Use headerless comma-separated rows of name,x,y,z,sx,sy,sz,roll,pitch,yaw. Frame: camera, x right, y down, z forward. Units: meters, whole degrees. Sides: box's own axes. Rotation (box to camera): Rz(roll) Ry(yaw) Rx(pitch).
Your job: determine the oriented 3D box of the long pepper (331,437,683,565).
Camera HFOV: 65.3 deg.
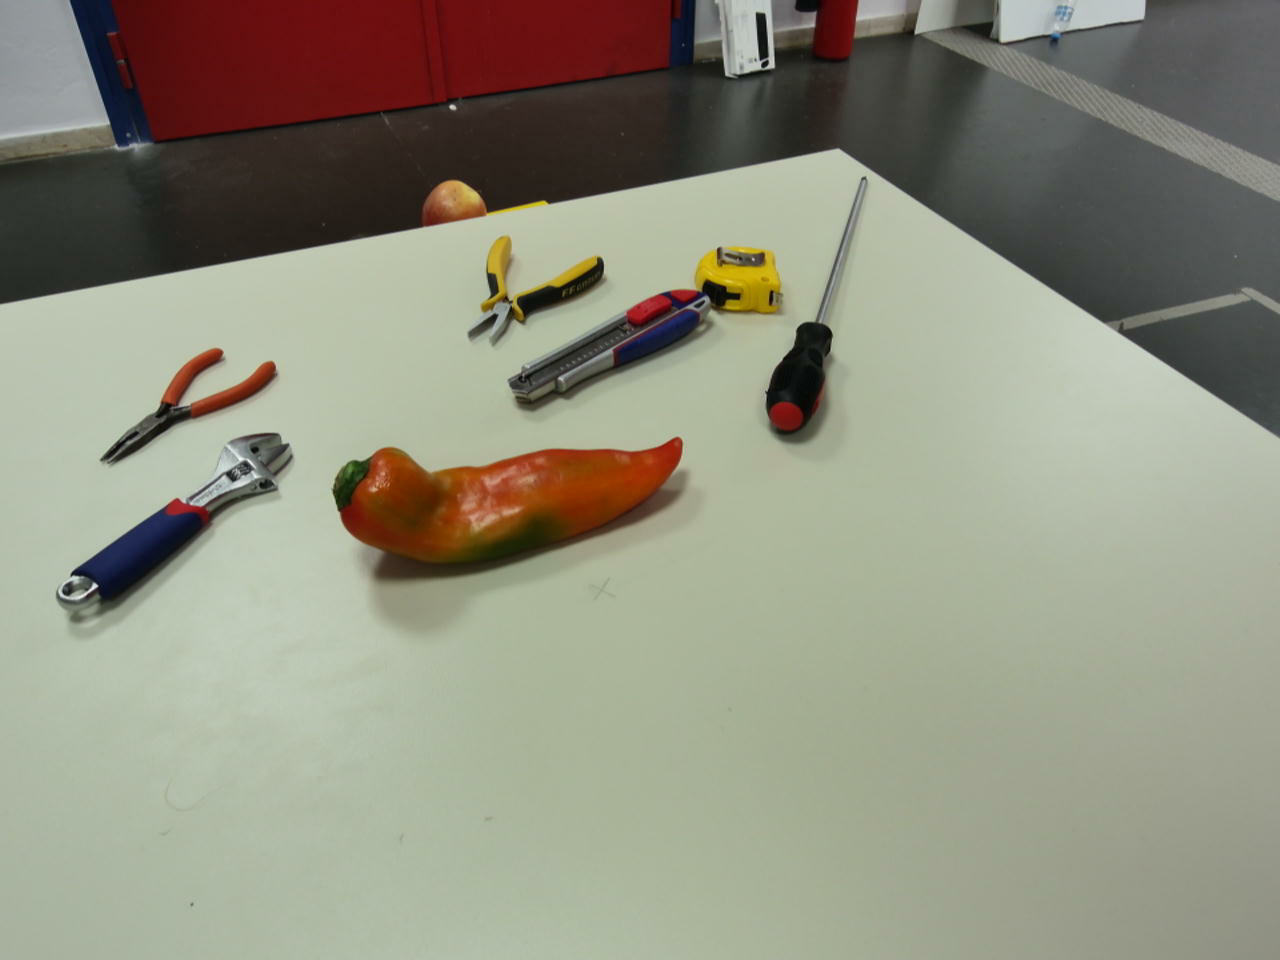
long pepper,-0.066,-0.001,0.554,0.199,0.065,0.066,-12,41,-16
